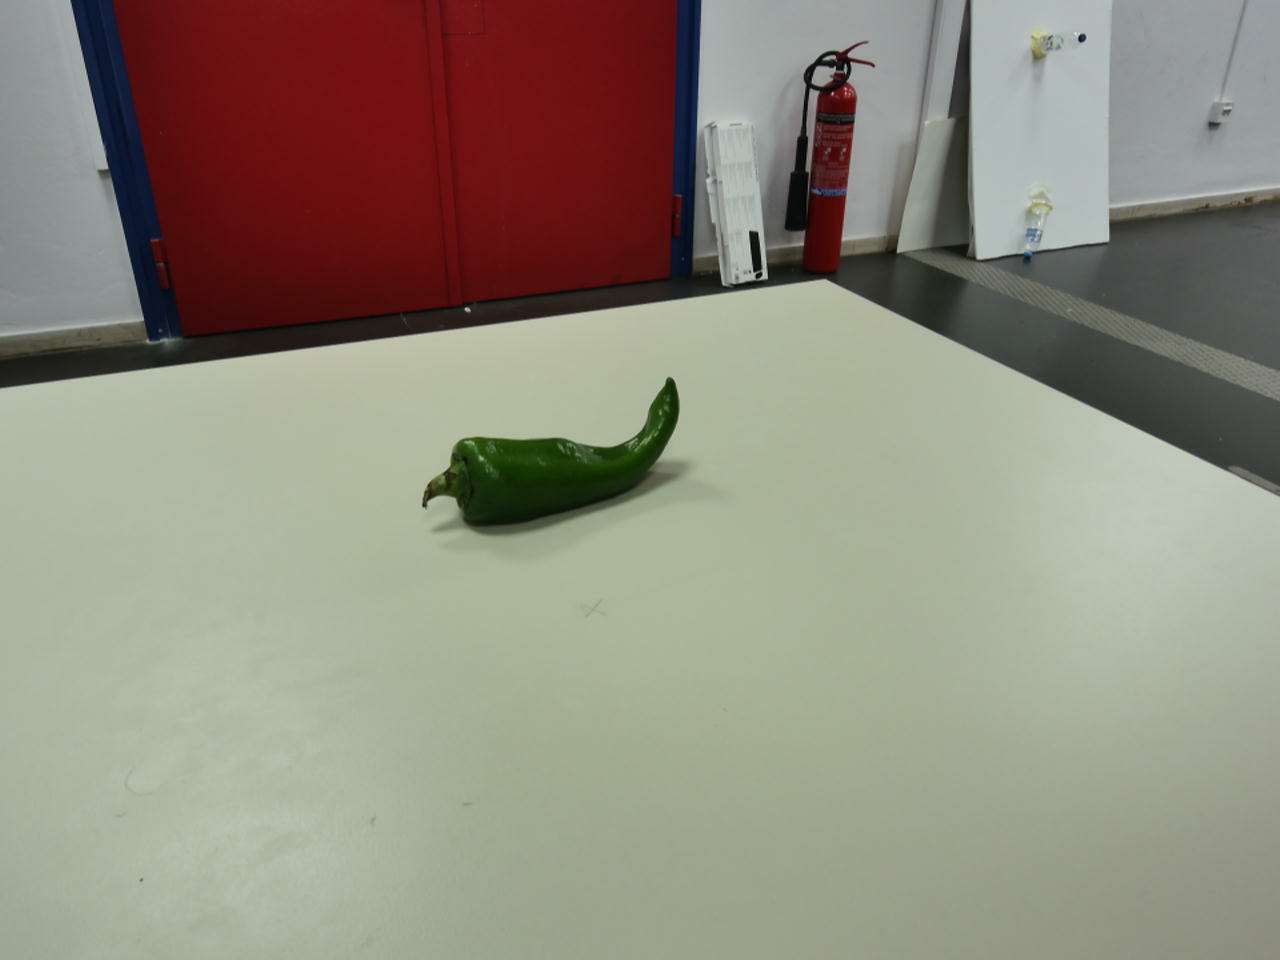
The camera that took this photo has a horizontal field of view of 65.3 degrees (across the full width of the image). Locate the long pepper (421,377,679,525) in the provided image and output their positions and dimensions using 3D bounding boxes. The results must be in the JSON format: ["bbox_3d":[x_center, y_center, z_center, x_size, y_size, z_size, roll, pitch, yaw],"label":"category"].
[{"bbox_3d":[-0.048,-0.016,0.607,0.175,0.065,0.058,-12,29,-24],"label":"long pepper"}]
